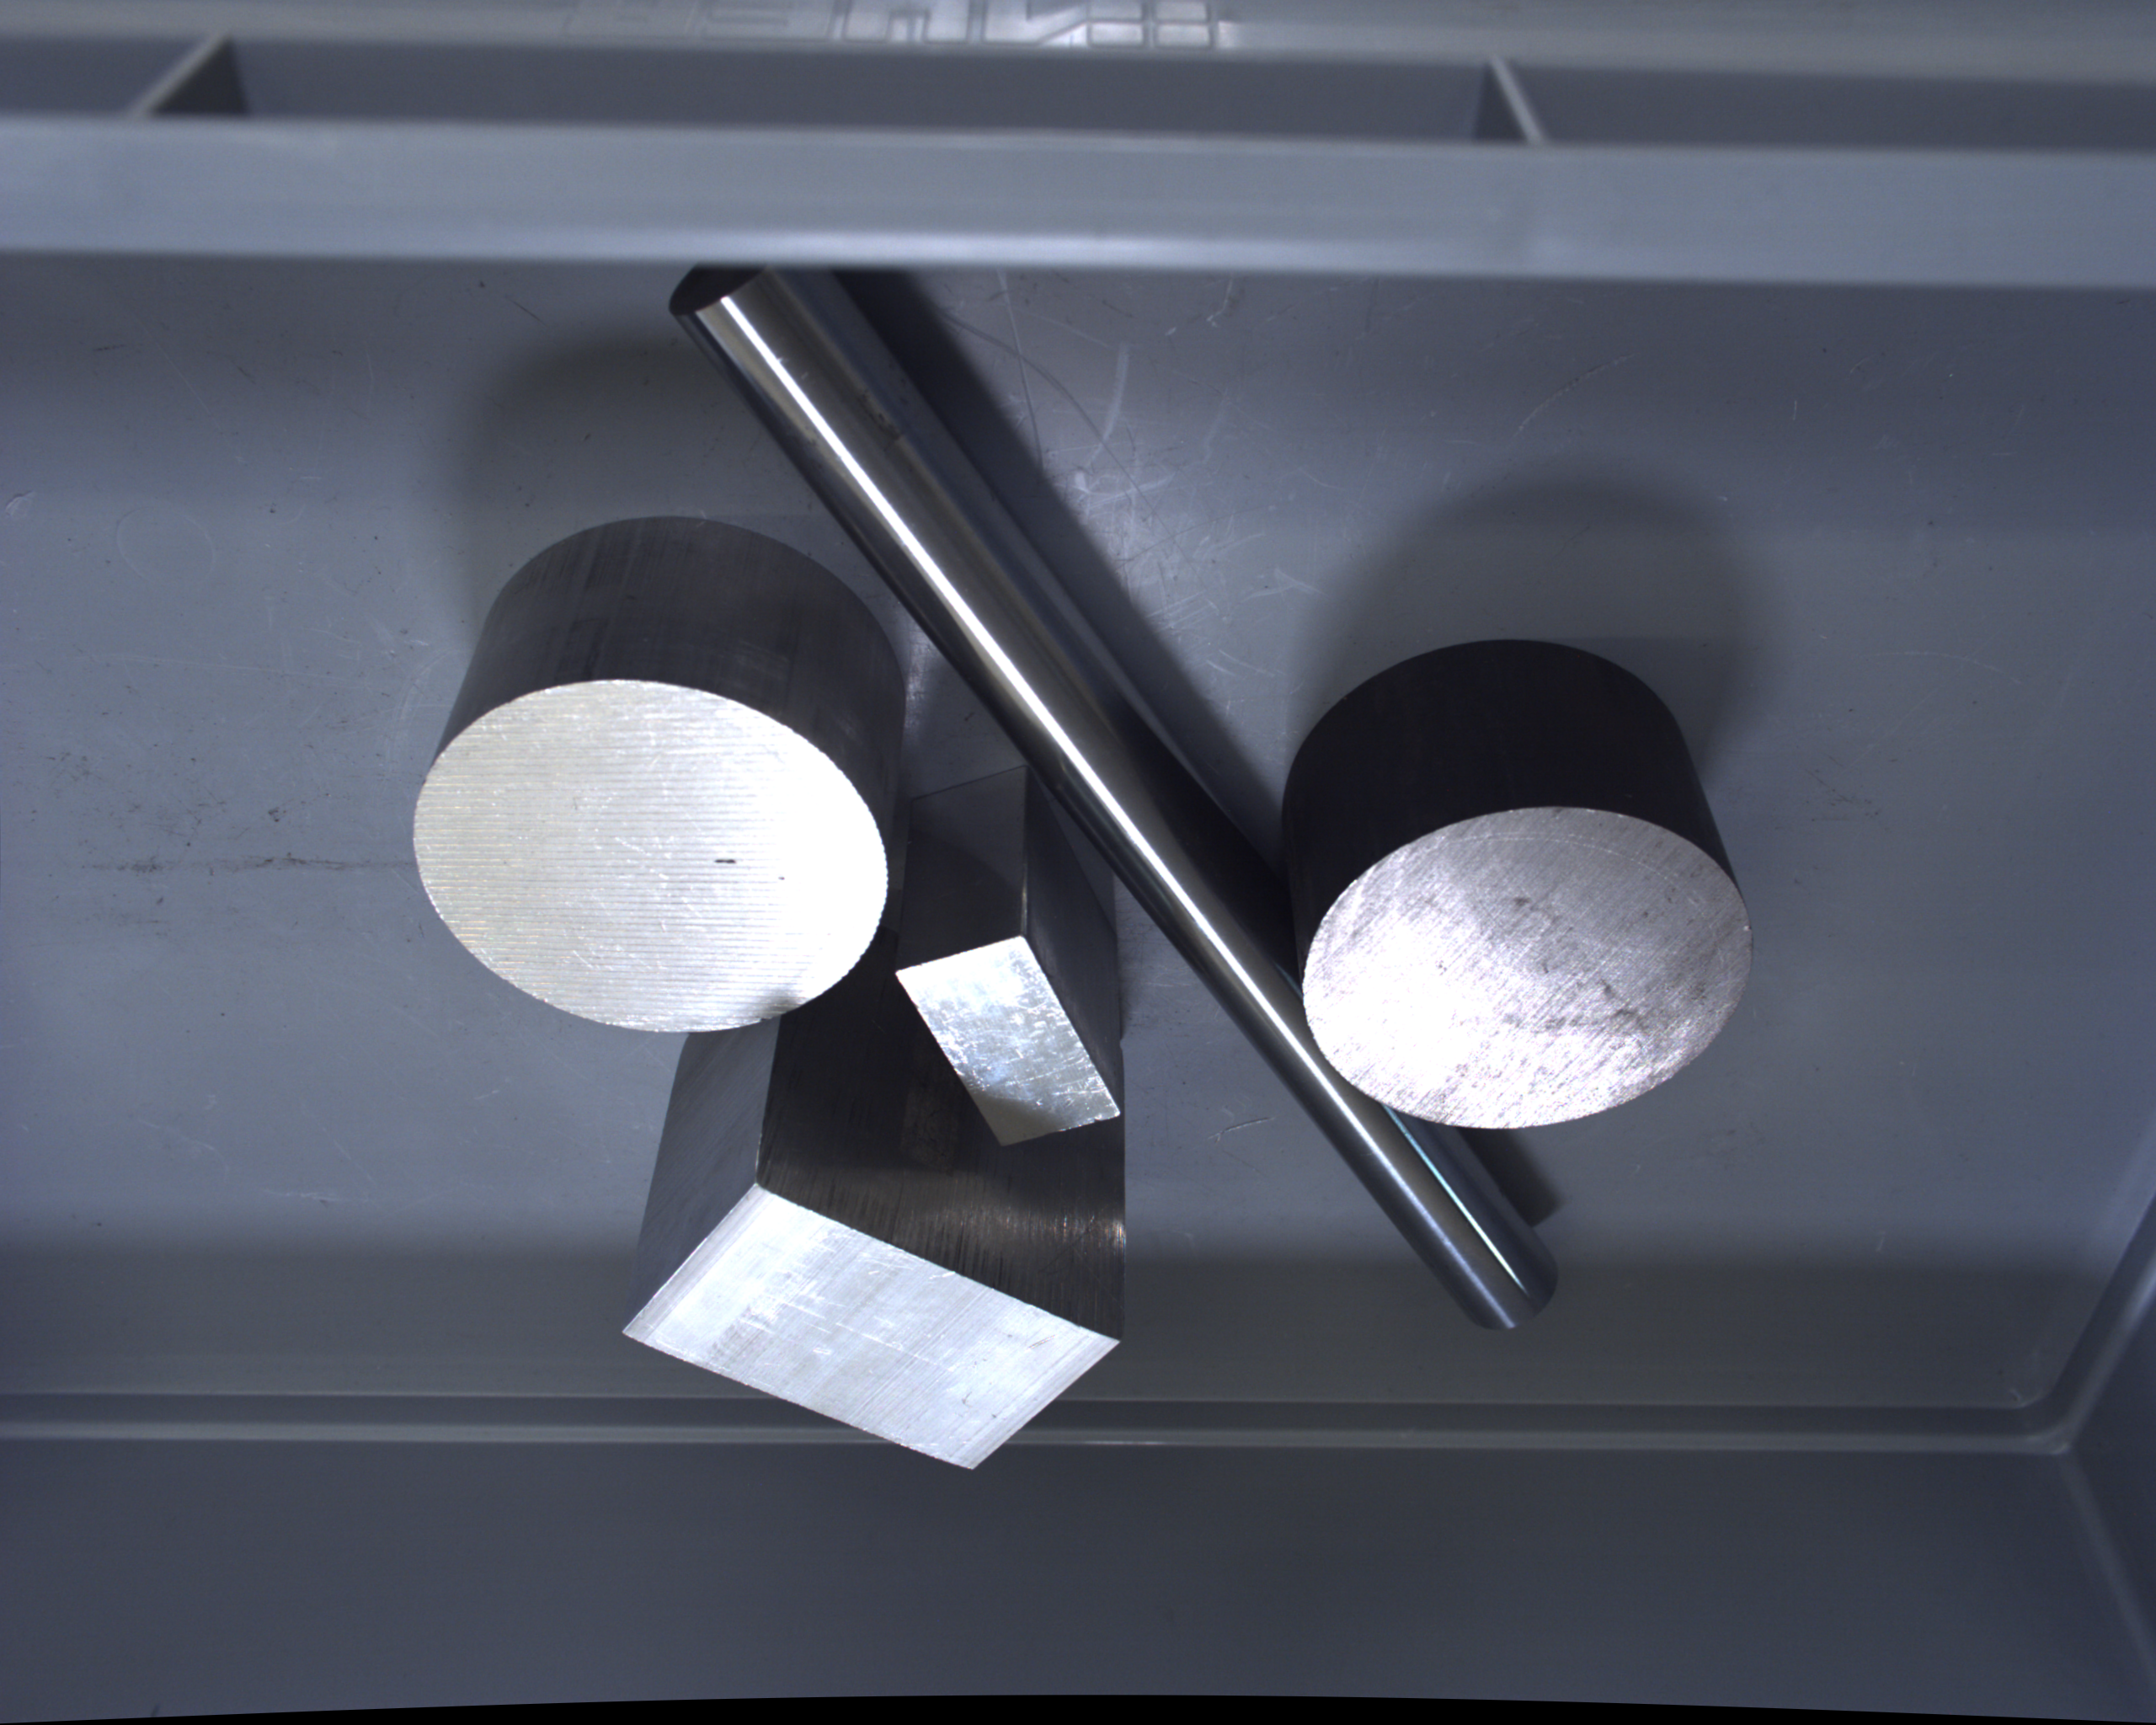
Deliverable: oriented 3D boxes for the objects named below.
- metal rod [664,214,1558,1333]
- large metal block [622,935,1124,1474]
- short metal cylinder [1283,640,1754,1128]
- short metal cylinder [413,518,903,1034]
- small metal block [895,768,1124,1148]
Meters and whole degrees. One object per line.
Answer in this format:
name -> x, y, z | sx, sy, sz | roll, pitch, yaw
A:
metal rod -> 0.024, 0.003, 0.410 | 0.025, 0.025, 0.300 | -25, 126, 20
large metal block -> -0.038, 0.065, 0.425 | 0.080, 0.080, 0.050 | 28, 125, -21
short metal cylinder -> 0.081, 0.005, 0.395 | 0.081, 0.050, 0.079 | 0, 130, 0
short metal cylinder -> -0.073, -0.015, 0.377 | 0.081, 0.050, 0.079 | 0, 130, 0
small metal block -> -0.012, 0.018, 0.405 | 0.025, 0.050, 0.050 | -17, 128, 13
